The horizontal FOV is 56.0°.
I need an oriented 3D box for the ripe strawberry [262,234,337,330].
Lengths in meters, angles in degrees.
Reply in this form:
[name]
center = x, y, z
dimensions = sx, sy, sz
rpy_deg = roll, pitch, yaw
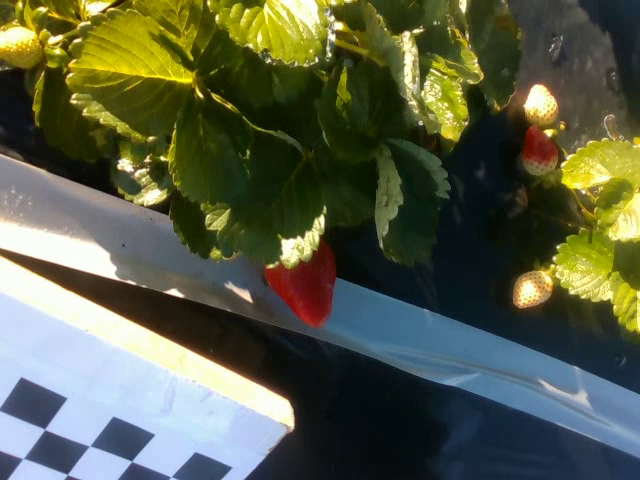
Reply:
[ripe strawberry]
center = -0.010, 0.022, 0.335
dimensions = 0.045, 0.064, 0.049
rpy_deg = -25, -32, 11
